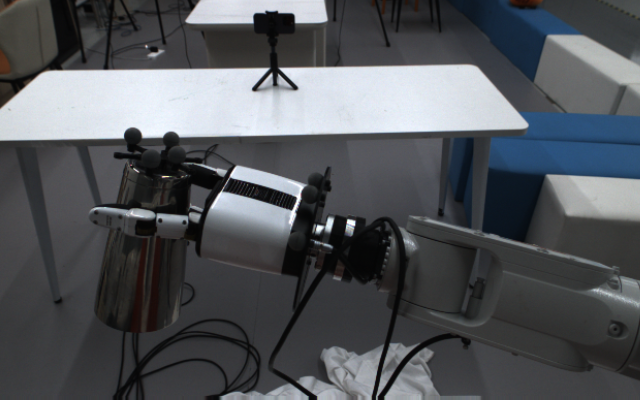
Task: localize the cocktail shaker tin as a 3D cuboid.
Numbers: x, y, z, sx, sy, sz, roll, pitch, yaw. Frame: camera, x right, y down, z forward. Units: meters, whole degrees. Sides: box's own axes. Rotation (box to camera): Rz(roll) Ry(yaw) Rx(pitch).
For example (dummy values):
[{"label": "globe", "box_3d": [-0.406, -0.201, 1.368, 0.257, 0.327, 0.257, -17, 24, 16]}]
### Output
[{"label": "cocktail shaker tin", "box_3d": [-0.181, 0.042, 0.520, 0.093, 0.170, 0.093, 14, 19, -5]}]
